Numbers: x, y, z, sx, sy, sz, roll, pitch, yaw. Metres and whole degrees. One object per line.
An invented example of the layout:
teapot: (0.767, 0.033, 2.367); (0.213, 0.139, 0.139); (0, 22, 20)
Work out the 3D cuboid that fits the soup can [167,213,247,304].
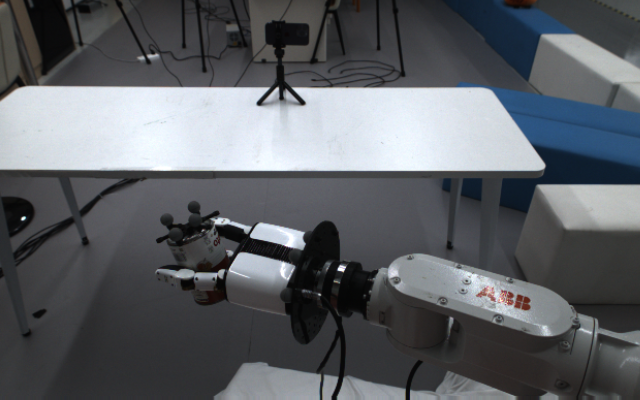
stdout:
soup can: (-0.159, 0.087, 0.668); (0.067, 0.101, 0.067); (-16, 23, 7)
